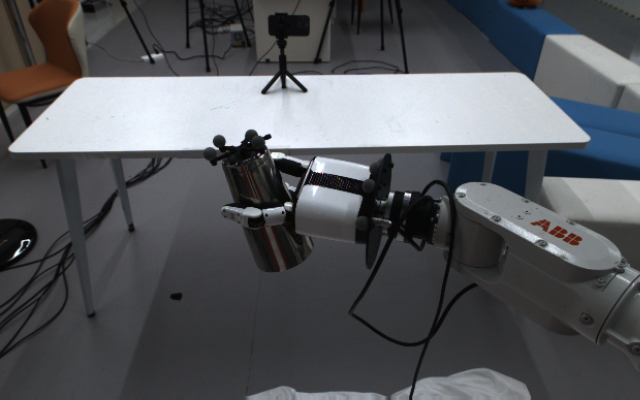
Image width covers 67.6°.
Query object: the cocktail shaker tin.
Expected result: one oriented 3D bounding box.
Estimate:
[{"bbox_3d":[-0.078,0.009,0.689,0.093,0.170,0.093,-15,29,8],"label":"cocktail shaker tin"}]
